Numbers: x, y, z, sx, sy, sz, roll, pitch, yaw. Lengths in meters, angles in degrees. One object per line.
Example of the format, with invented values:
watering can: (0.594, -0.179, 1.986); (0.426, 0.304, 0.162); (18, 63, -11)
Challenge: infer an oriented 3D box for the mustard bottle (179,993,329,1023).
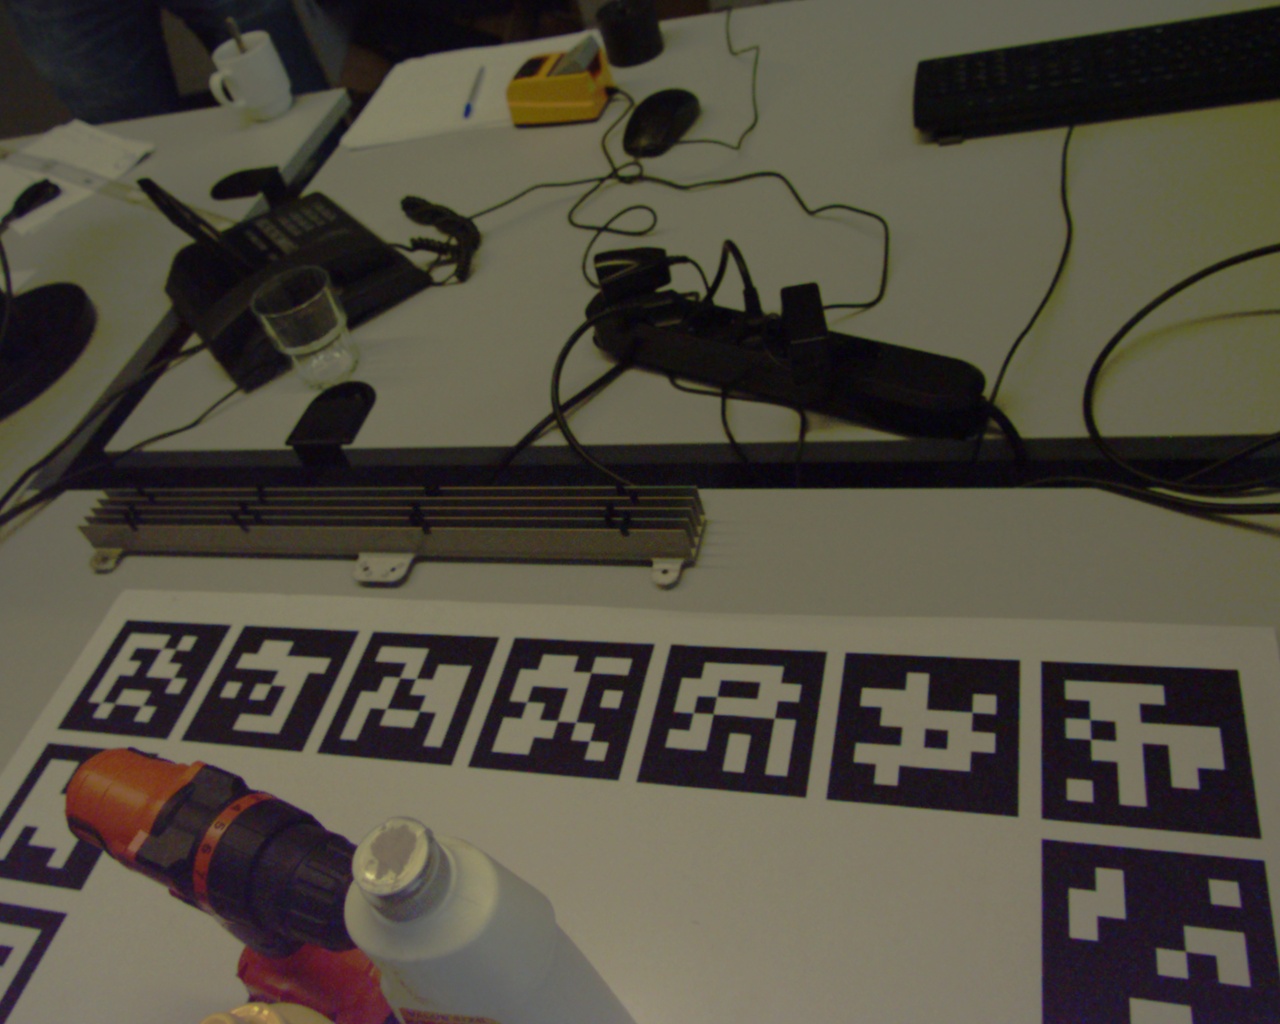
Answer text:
mustard bottle: (-0.153, 0.265, 0.515); (0.097, 0.190, 0.058); (2, 49, 20)

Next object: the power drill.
power drill: (-0.179, 0.198, 0.559); (0.187, 0.185, 0.057); (12, 52, 27)

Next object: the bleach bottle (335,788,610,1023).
bleach bottle: (-0.078, 0.207, 0.509); (0.104, 0.249, 0.068); (3, 43, 22)
